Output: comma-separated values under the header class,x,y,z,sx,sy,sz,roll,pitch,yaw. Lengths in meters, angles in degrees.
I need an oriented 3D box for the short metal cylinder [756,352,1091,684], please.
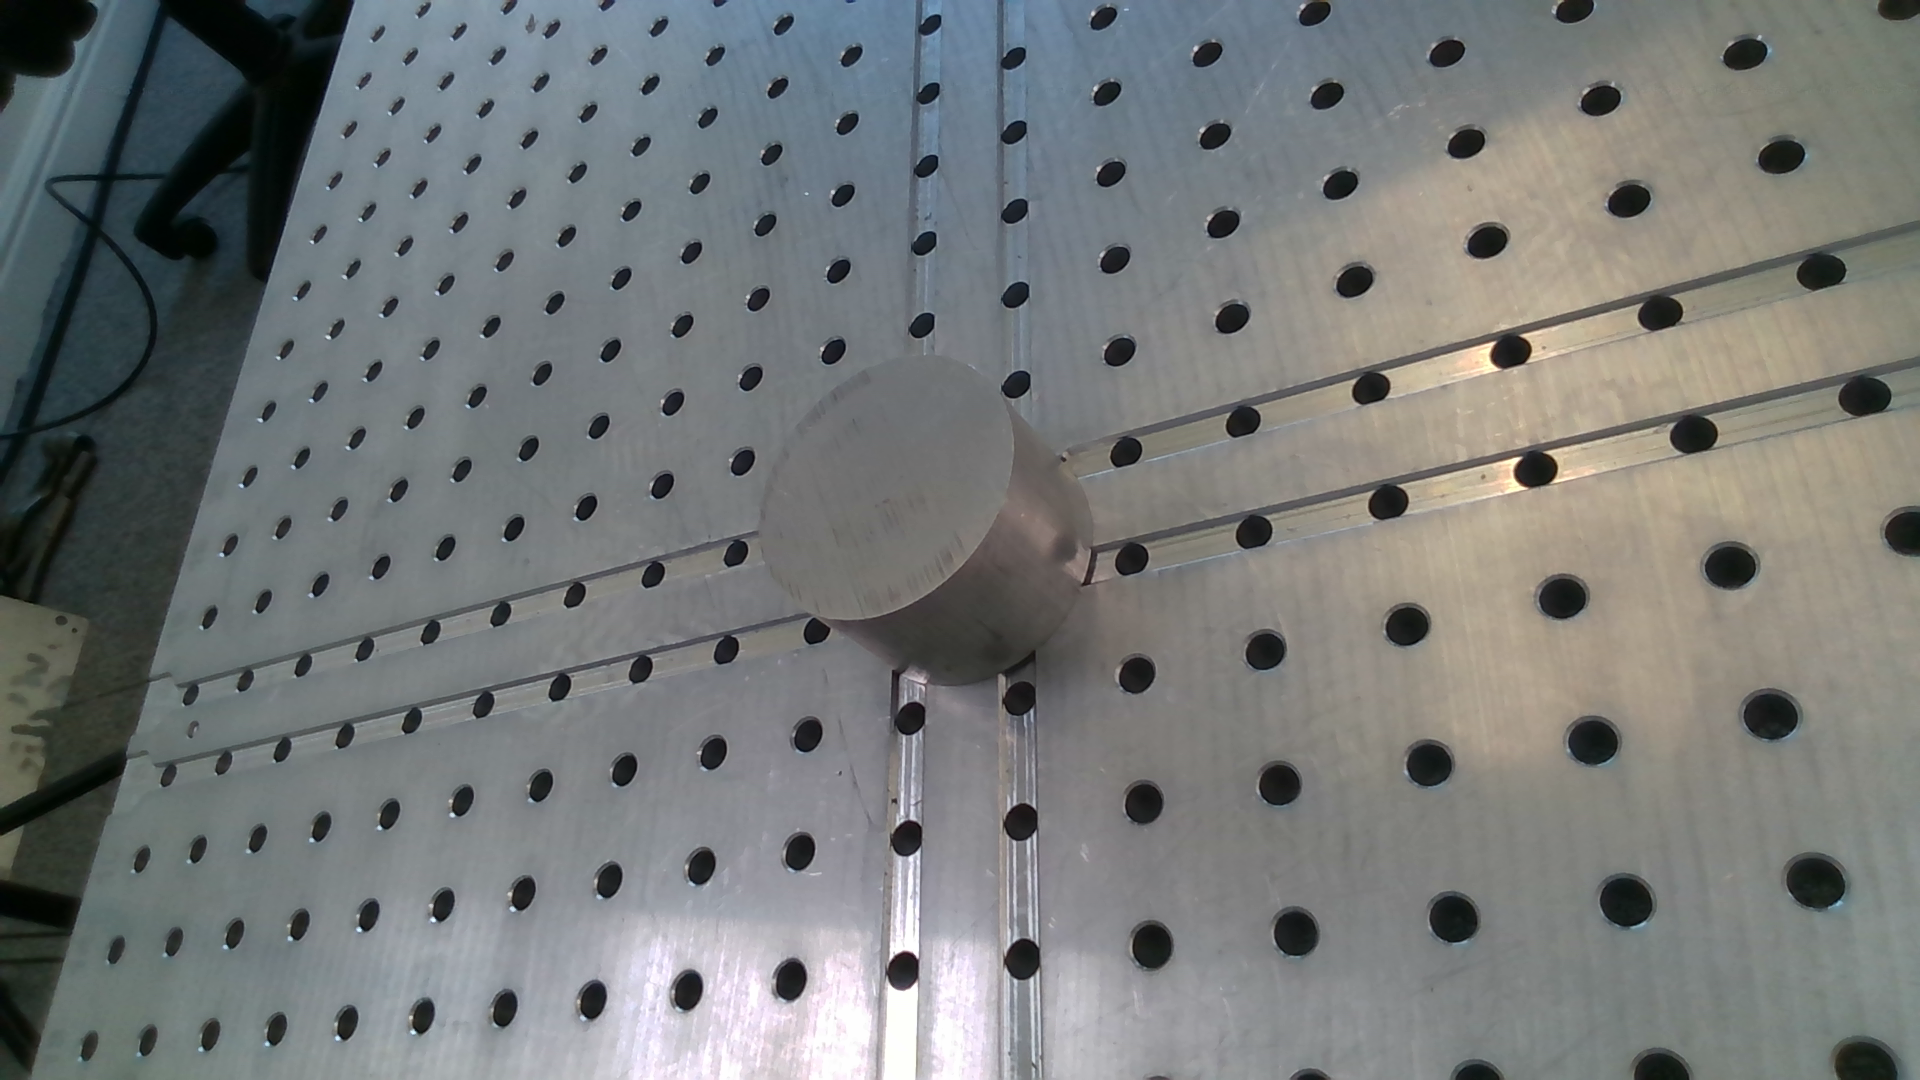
class,x,y,z,sx,sy,sz,roll,pitch,yaw
short metal cylinder,-0.010,-0.006,0.389,0.080,0.050,0.080,-14,59,25
